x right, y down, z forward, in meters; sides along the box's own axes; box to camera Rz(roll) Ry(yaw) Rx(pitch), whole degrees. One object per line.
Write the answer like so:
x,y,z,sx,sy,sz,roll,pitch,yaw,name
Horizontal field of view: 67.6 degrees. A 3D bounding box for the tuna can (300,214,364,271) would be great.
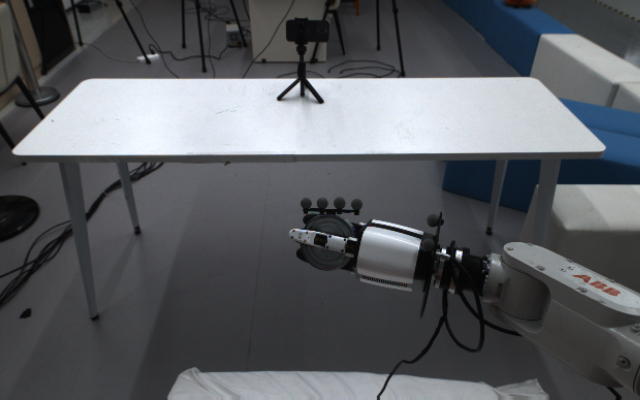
0.017,0.065,0.739,0.085,0.085,0.034,12,0,14,tuna can
